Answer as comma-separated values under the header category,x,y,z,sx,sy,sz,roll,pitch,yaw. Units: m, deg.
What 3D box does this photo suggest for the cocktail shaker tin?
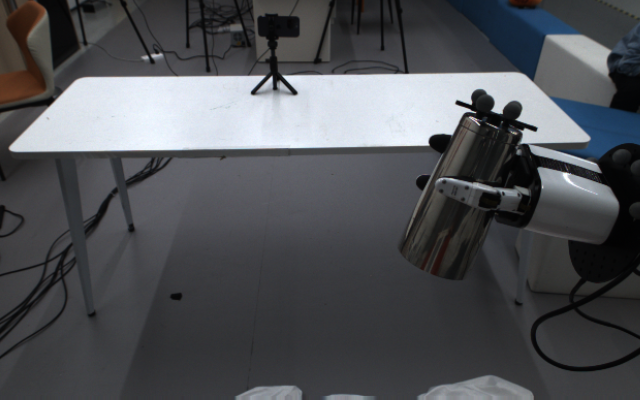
category,x,y,z,sx,sy,sz,roll,pitch,yaw
cocktail shaker tin,0.162,-0.007,0.548,0.093,0.170,0.093,16,21,-6
